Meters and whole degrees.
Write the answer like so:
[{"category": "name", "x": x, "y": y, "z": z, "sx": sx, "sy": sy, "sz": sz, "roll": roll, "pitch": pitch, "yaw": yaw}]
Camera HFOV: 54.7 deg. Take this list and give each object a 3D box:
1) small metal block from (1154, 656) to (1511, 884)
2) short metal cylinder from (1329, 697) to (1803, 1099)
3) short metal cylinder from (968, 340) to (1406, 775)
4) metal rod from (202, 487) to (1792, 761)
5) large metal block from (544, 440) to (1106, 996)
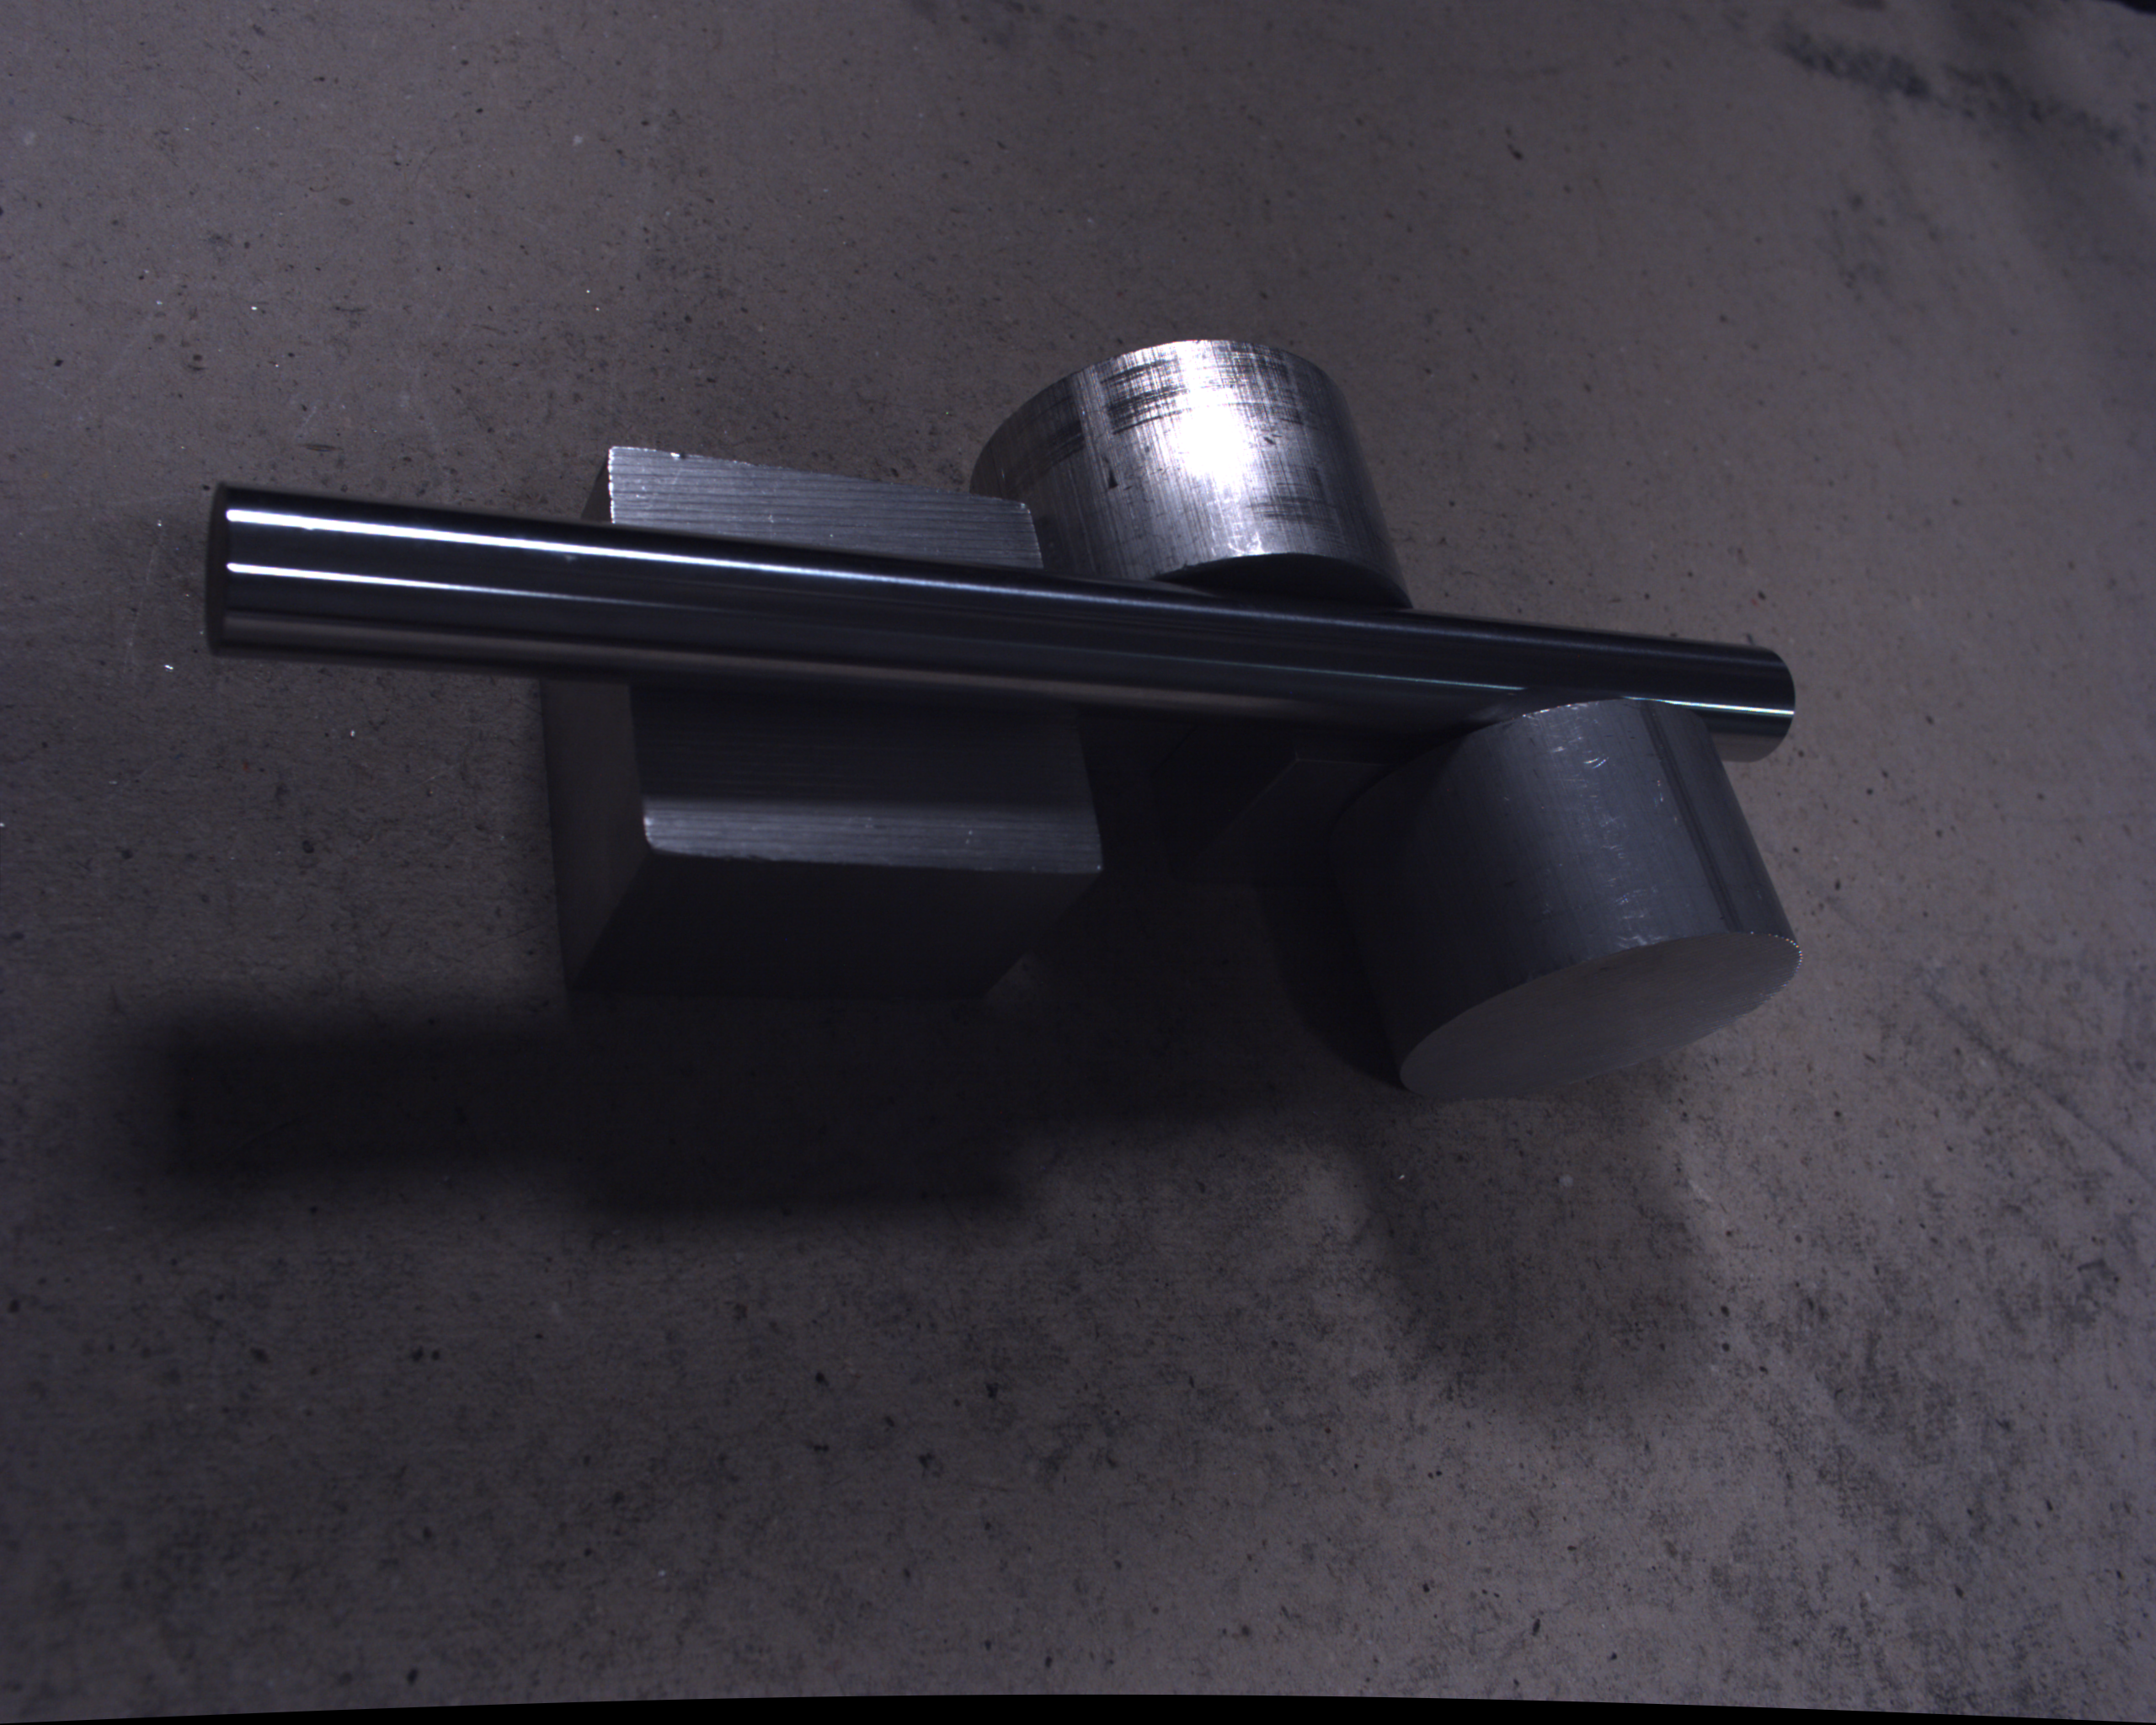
[{"category": "small metal block", "x": 0.051, "y": -0.018, "z": 0.428, "sx": 0.050, "sy": 0.050, "sz": 0.025, "roll": 1, "pitch": 62, "yaw": -28}, {"category": "short metal cylinder", "x": 0.096, "y": 0.009, "z": 0.418, "sx": 0.081, "sy": 0.080, "sz": 0.050, "roll": 0, "pitch": 62, "yaw": -29}, {"category": "short metal cylinder", "x": 0.022, "y": -0.059, "z": 0.420, "sx": 0.081, "sy": 0.080, "sz": 0.050, "roll": 2, "pitch": 61, "yaw": -28}, {"category": "metal rod", "x": 0.009, "y": -0.037, "z": 0.369, "sx": 0.303, "sy": 0.025, "sz": 0.025, "roll": 2, "pitch": 61, "yaw": -29}, {"category": "large metal block", "x": -0.049, "y": -0.023, "z": 0.374, "sx": 0.081, "sy": 0.050, "sz": 0.080, "roll": 3, "pitch": 60, "yaw": -27}]
